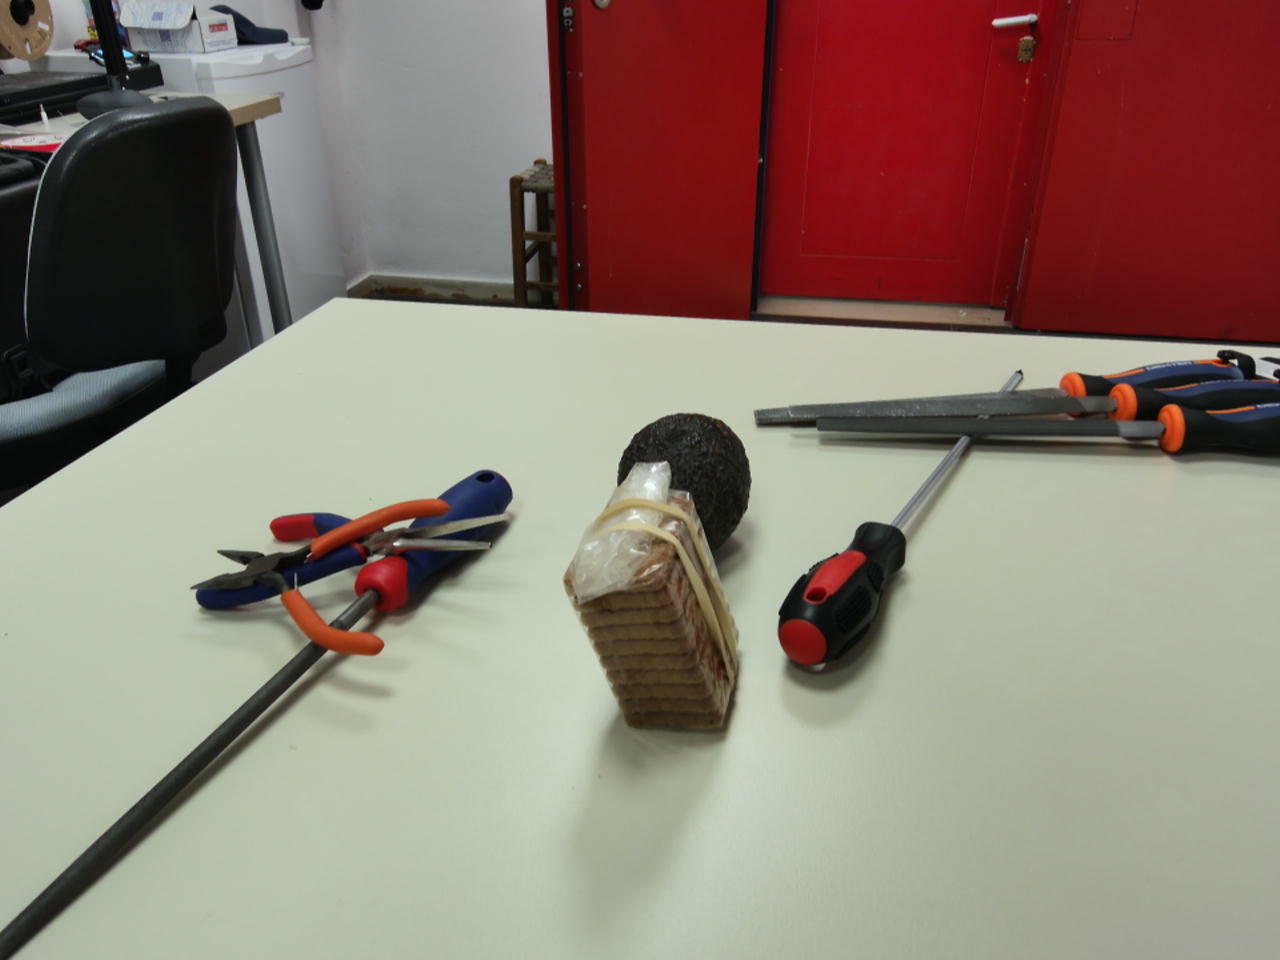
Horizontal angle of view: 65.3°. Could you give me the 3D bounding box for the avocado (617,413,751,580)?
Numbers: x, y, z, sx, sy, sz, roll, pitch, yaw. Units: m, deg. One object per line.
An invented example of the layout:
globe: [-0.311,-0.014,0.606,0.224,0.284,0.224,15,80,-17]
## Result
avocado: [0.020,0.003,0.515,0.070,0.069,0.090,17,31,33]
